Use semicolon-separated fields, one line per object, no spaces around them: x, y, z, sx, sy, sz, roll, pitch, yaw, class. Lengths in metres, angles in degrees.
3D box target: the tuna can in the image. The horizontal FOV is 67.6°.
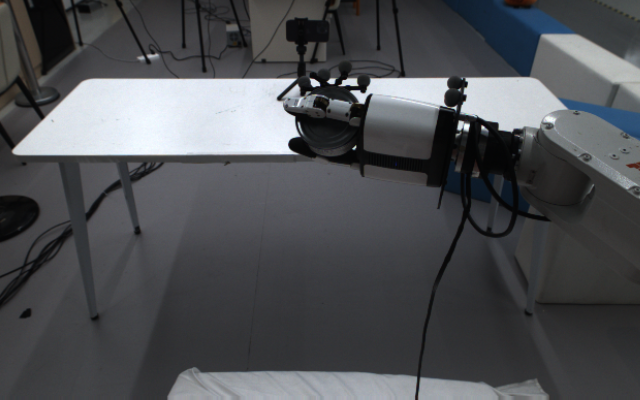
0.013;-0.102;0.624;0.085;0.034;0.085;-3;73;10;tuna can
